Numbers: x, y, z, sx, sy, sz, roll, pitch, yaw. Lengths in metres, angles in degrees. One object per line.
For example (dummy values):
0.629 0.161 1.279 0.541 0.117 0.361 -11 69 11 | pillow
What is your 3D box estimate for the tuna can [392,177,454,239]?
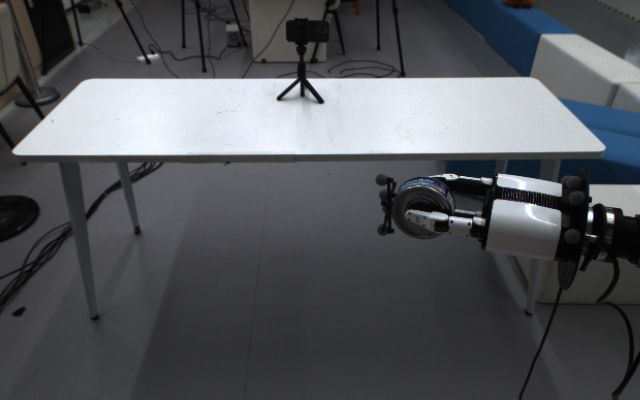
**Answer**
0.146 0.008 0.683 0.085 0.085 0.034 12 27 14 | tuna can
